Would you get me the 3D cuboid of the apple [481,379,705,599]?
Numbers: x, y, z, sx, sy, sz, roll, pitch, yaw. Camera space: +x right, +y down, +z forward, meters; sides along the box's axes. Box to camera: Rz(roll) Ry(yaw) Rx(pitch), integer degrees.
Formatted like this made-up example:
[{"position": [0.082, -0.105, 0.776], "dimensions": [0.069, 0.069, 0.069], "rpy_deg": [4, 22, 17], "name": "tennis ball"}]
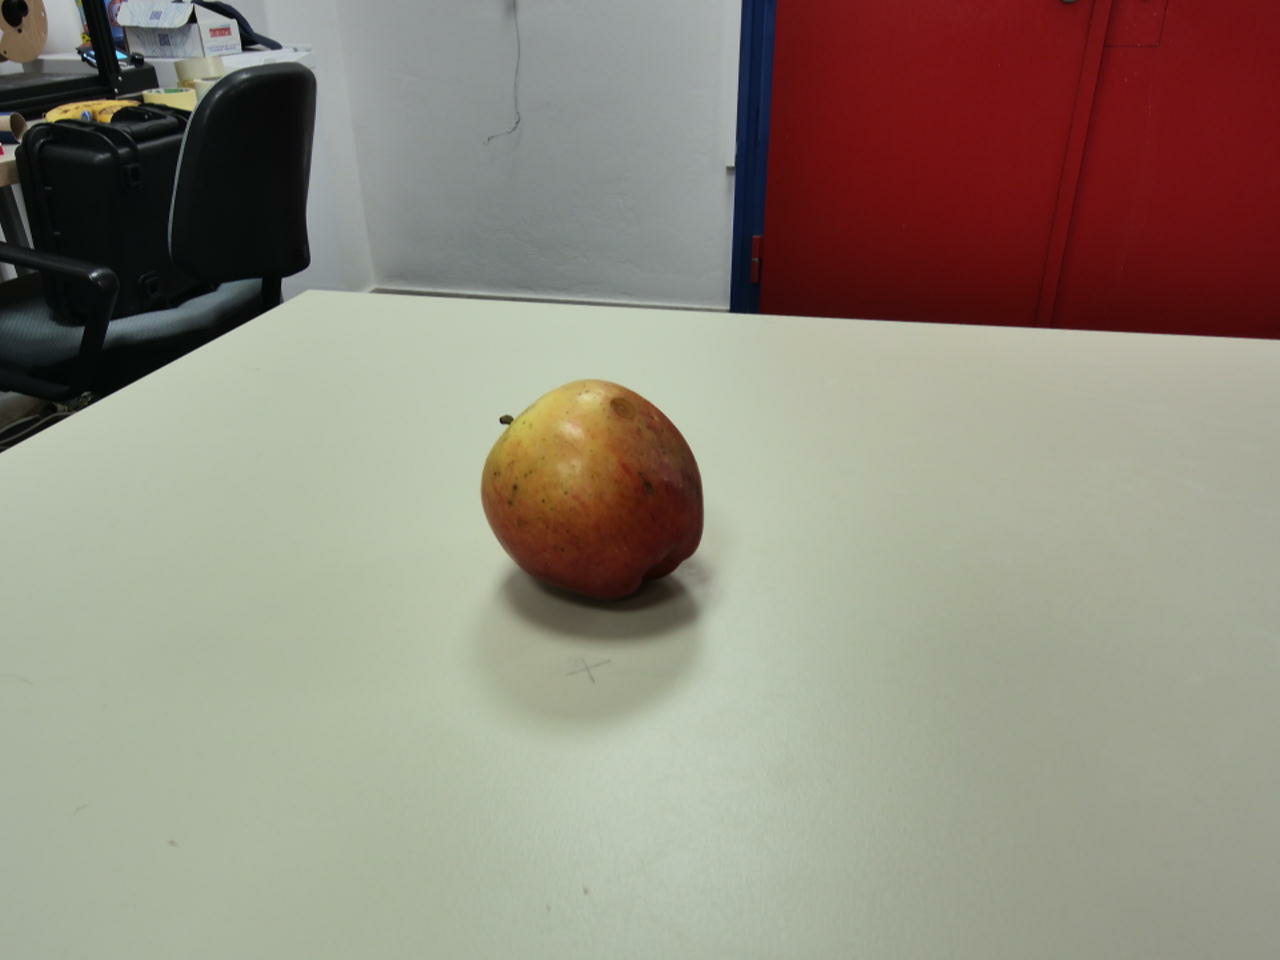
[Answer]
[{"position": [-0.021, 0.003, 0.405], "dimensions": [0.086, 0.084, 0.093], "rpy_deg": [-9, 26, -21], "name": "apple"}]
